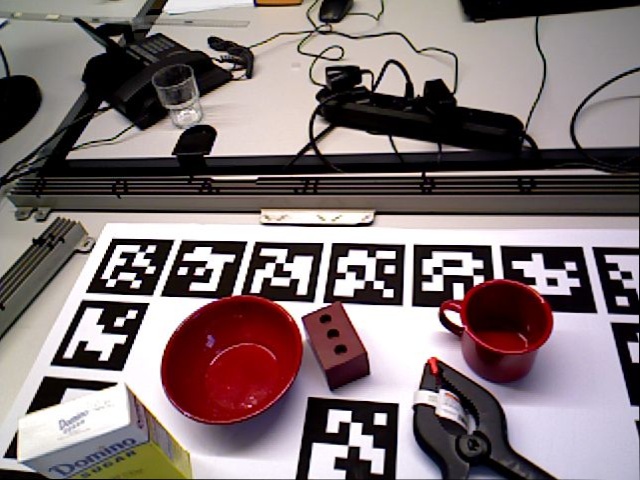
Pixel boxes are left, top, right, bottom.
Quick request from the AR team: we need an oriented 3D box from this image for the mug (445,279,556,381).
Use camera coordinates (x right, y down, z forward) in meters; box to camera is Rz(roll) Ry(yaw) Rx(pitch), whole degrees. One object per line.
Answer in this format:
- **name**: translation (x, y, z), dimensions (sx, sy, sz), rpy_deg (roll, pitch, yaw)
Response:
- **mug**: translation (0.190, 0.092, 0.580), dimensions (0.117, 0.083, 0.091), rpy_deg (25, 58, 22)

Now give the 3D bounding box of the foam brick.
- **foam brick**: translation (0.022, 0.122, 0.614), dimensions (0.052, 0.052, 0.077), rpy_deg (-20, 51, -7)

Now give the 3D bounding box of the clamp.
- **clamp**: translation (0.144, 0.200, 0.523), dimensions (0.164, 0.037, 0.200), rpy_deg (-18, 51, -3)

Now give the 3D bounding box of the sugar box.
- **sugar box**: translation (-0.192, 0.195, 0.499), dimensions (0.092, 0.180, 0.045), rpy_deg (-17, 51, -8)

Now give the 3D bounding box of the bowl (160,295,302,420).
- **bowl**: translation (-0.097, 0.135, 0.613), dimensions (0.161, 0.056, 0.159), rpy_deg (-4, 50, 4)
